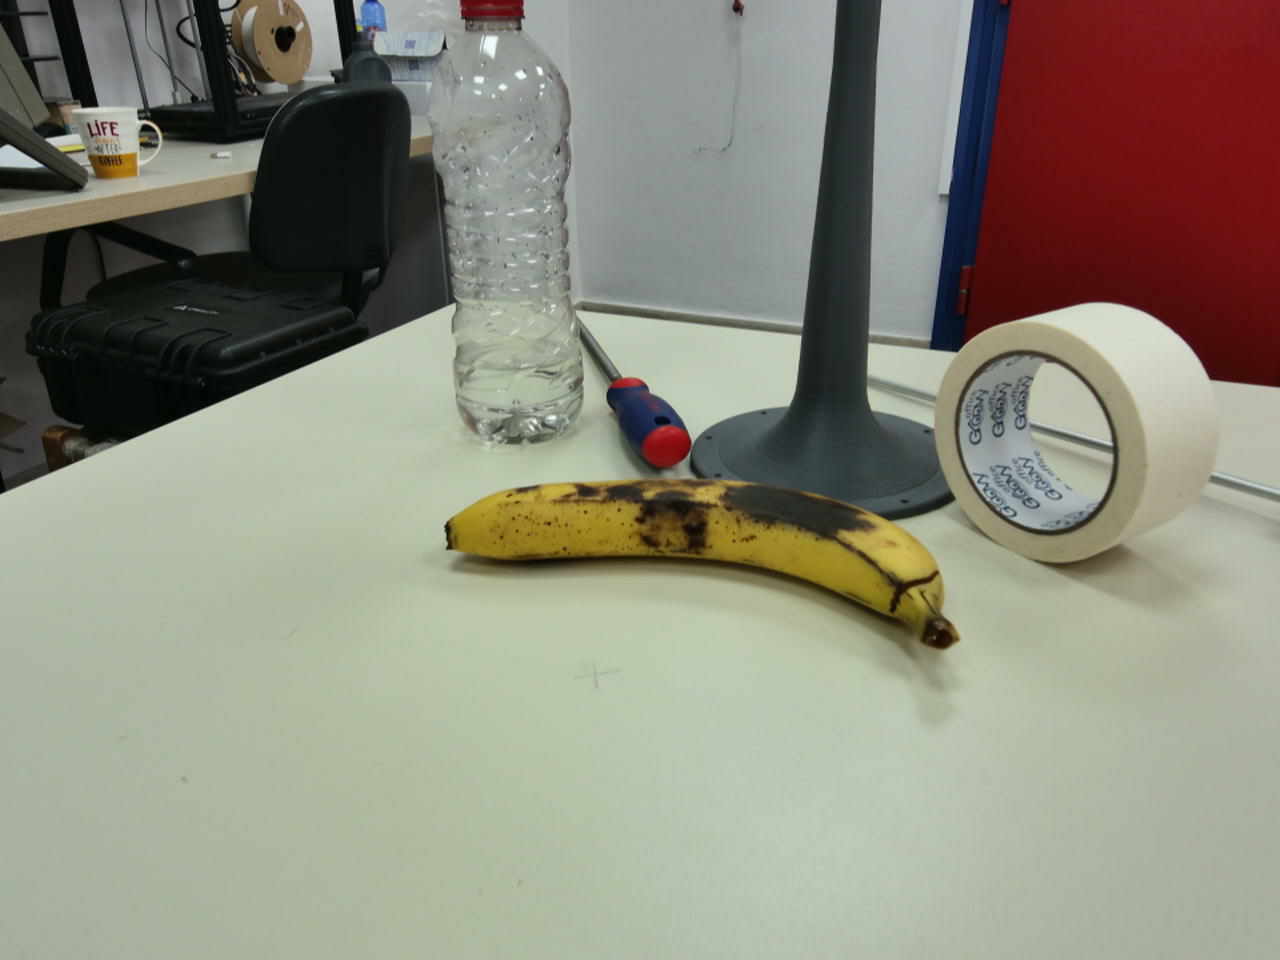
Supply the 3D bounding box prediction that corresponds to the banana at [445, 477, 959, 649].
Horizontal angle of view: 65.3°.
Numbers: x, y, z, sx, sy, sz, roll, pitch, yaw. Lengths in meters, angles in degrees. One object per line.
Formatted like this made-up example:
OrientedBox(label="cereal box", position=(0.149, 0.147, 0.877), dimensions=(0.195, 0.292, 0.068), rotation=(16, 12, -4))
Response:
OrientedBox(label="banana", position=(0.028, 0.025, 0.428), dimensions=(0.222, 0.037, 0.084), rotation=(11, 26, 24))
